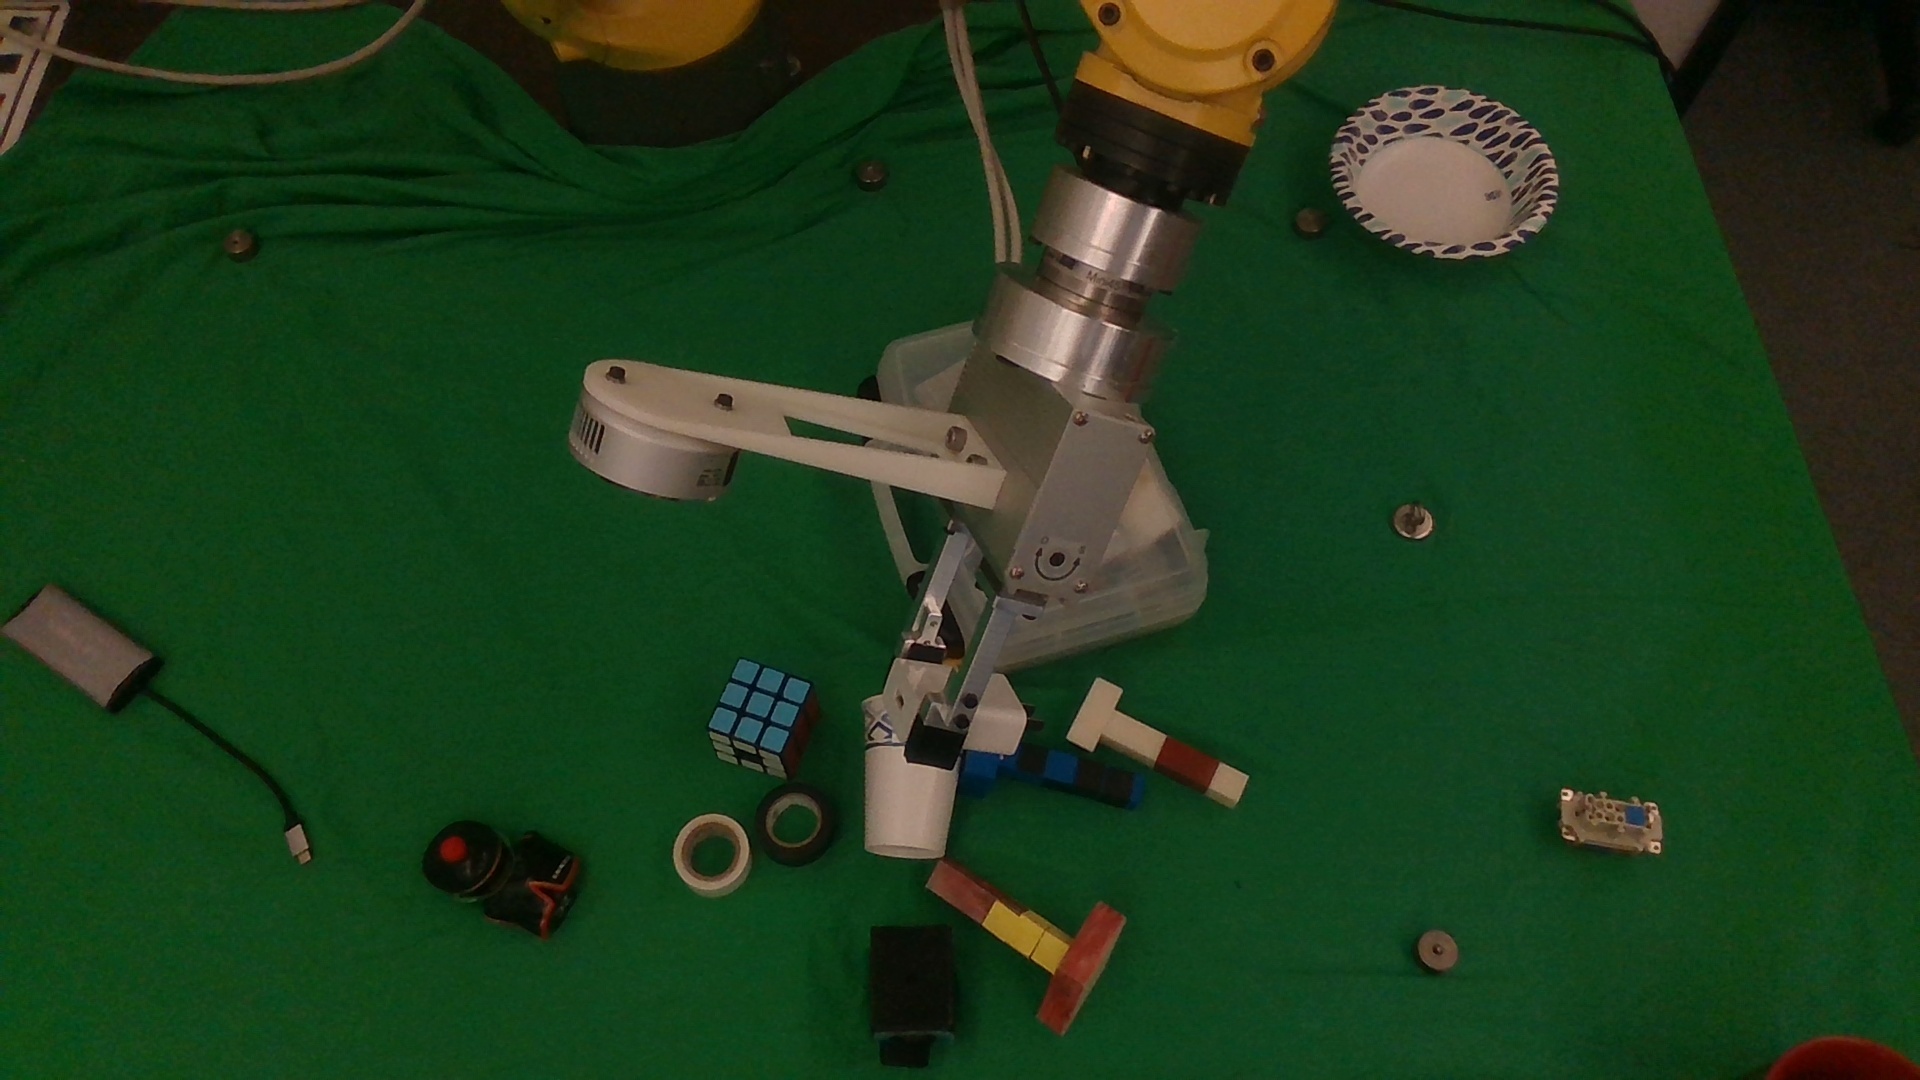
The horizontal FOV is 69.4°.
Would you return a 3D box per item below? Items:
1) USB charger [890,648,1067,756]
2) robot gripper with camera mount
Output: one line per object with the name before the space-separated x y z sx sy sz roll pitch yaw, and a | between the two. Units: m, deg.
USB charger | 0.010 0.073 0.607 0.075 0.029 0.045 12 23 -25
robot gripper with camera mount | -0.052 -0.002 0.531 0.193 0.159 0.119 13 23 -24
